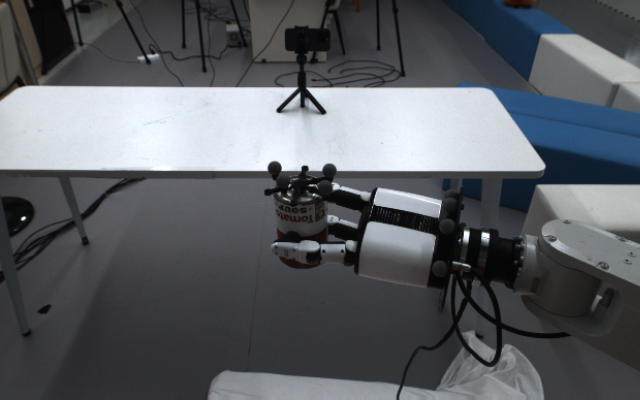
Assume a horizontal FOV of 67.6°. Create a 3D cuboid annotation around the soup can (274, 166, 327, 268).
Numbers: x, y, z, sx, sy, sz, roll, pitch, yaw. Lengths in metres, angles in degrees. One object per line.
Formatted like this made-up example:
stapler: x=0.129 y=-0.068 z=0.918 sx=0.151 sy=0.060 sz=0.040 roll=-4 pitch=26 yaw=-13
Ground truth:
soup can: x=-0.021 y=0.027 z=0.619 sx=0.067 sy=0.101 sz=0.067 roll=-2 pitch=34 yaw=1
